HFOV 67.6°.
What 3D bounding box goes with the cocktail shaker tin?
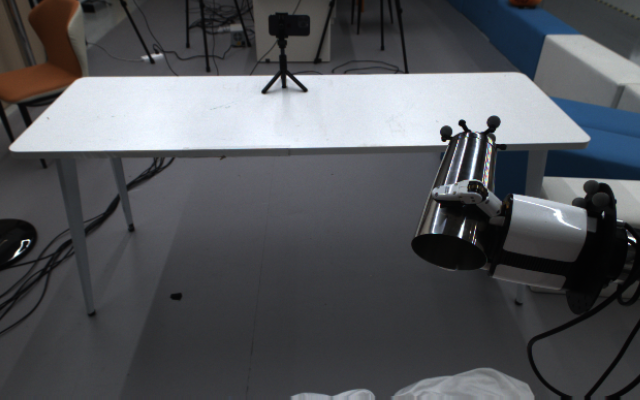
[{"bbox_3d":[0.185,-0.005,0.633,0.093,0.093,0.170,13,60,16],"label":"cocktail shaker tin"}]
